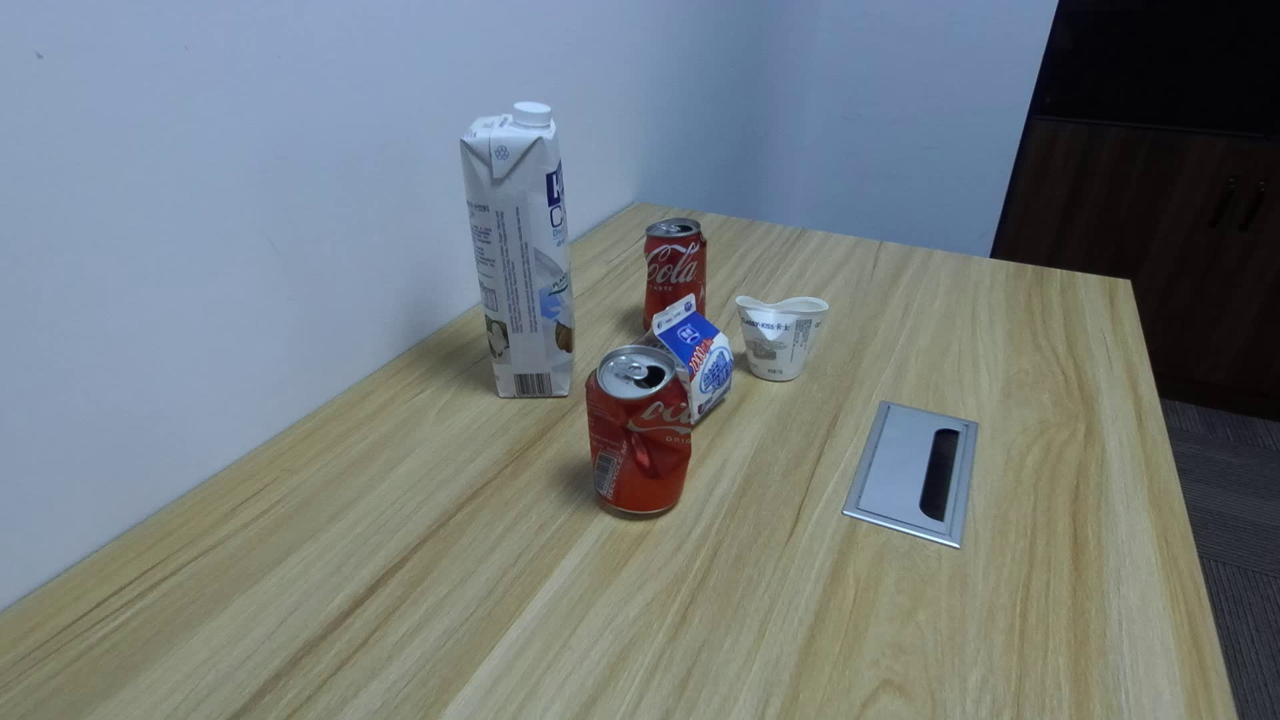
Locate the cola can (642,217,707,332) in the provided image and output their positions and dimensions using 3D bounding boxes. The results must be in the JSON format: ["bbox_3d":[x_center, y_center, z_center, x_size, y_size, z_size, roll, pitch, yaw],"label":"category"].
[{"bbox_3d":[0.036,-0.077,0.714,0.065,0.117,0.072,15,29,22],"label":"cola can"}]

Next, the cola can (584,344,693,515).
[{"bbox_3d":[-0.001,0.049,0.499,0.066,0.112,0.069,-13,34,-17],"label":"cola can"}]

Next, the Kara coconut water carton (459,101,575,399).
[{"bbox_3d":[-0.098,-0.087,0.602,0.075,0.245,0.077,0,31,2],"label":"Kara coconut water carton"}]

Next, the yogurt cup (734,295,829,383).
[{"bbox_3d":[0.130,-0.024,0.661,0.075,0.071,0.053,-11,32,-17],"label":"yogurt cup"}]

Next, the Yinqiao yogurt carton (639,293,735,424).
[{"bbox_3d":[0.035,-0.005,0.604,0.080,0.097,0.075,11,32,33],"label":"Yinqiao yogurt carton"}]
